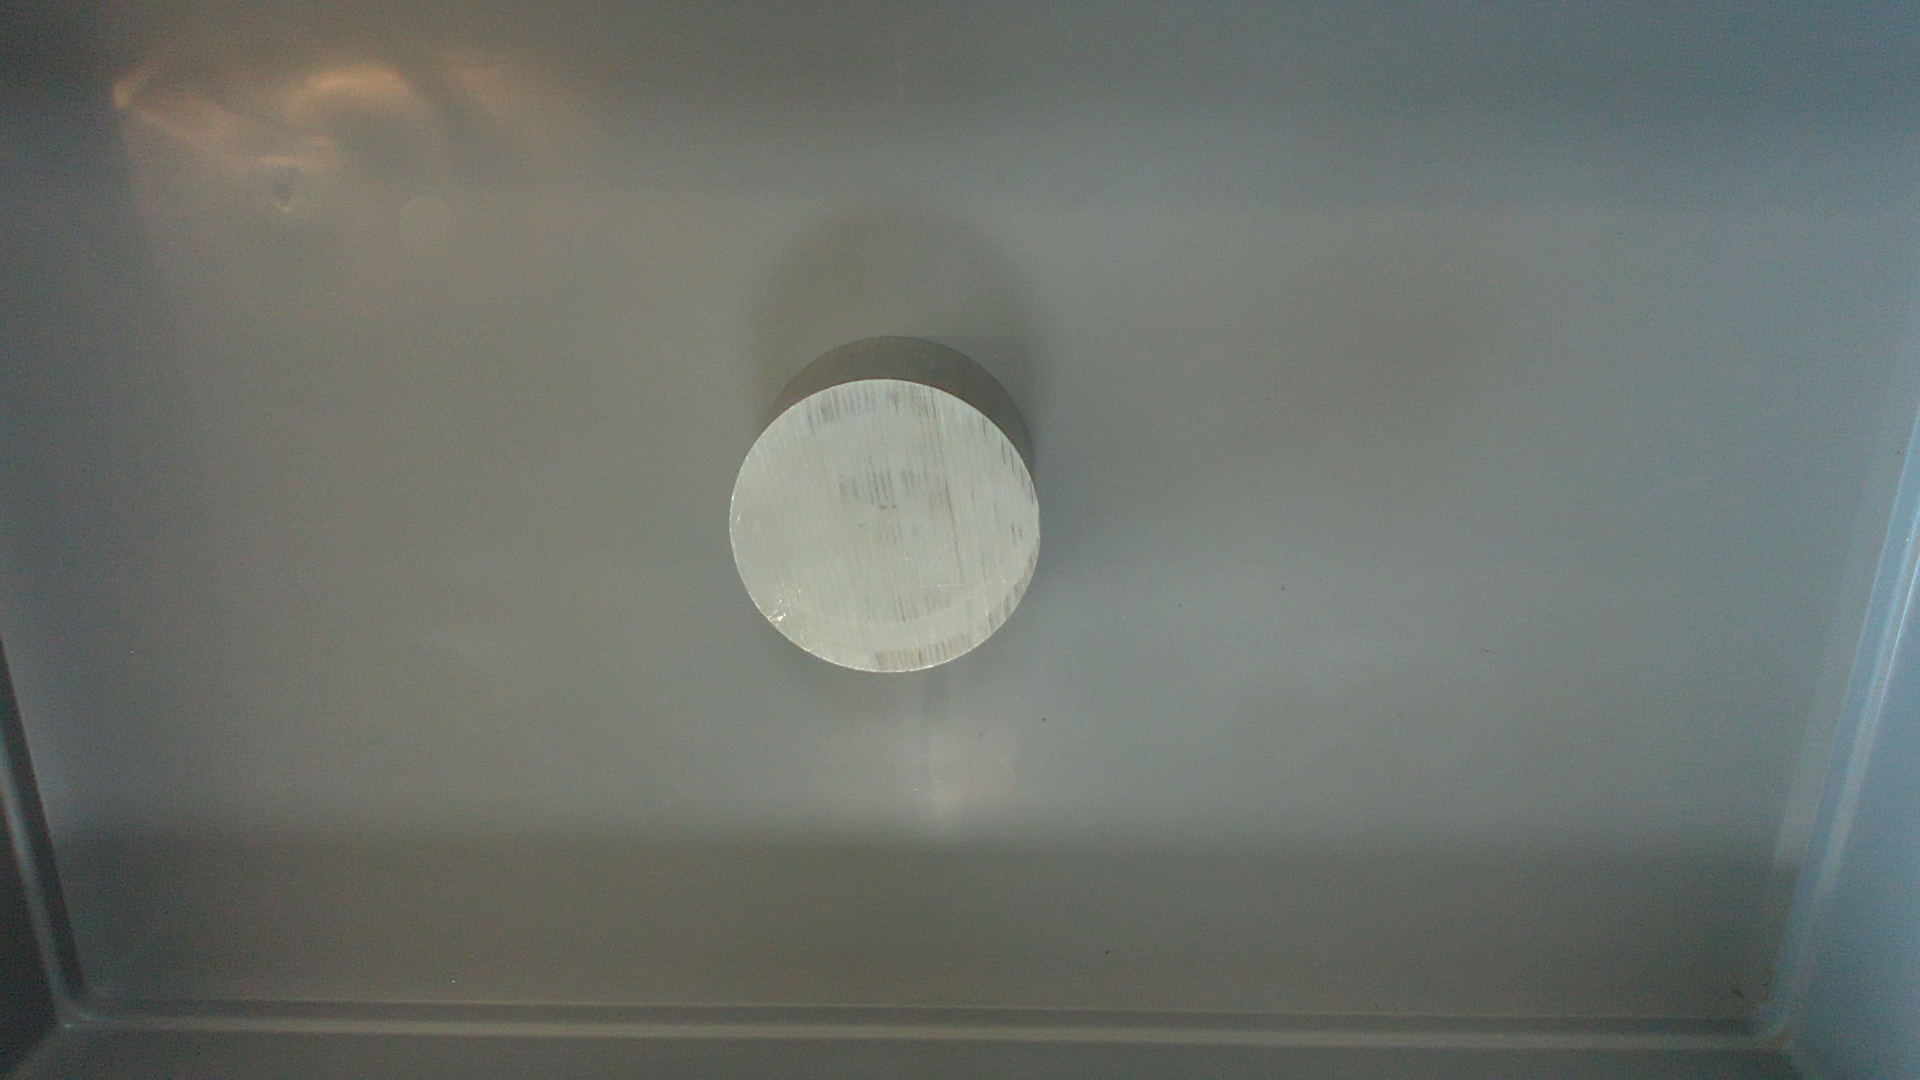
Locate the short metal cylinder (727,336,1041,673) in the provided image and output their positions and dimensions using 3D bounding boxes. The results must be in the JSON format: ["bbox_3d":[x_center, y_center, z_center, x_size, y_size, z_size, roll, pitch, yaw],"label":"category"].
[{"bbox_3d":[-0.019,-0.011,0.375,0.080,0.050,0.080,0,110,0],"label":"short metal cylinder"}]
